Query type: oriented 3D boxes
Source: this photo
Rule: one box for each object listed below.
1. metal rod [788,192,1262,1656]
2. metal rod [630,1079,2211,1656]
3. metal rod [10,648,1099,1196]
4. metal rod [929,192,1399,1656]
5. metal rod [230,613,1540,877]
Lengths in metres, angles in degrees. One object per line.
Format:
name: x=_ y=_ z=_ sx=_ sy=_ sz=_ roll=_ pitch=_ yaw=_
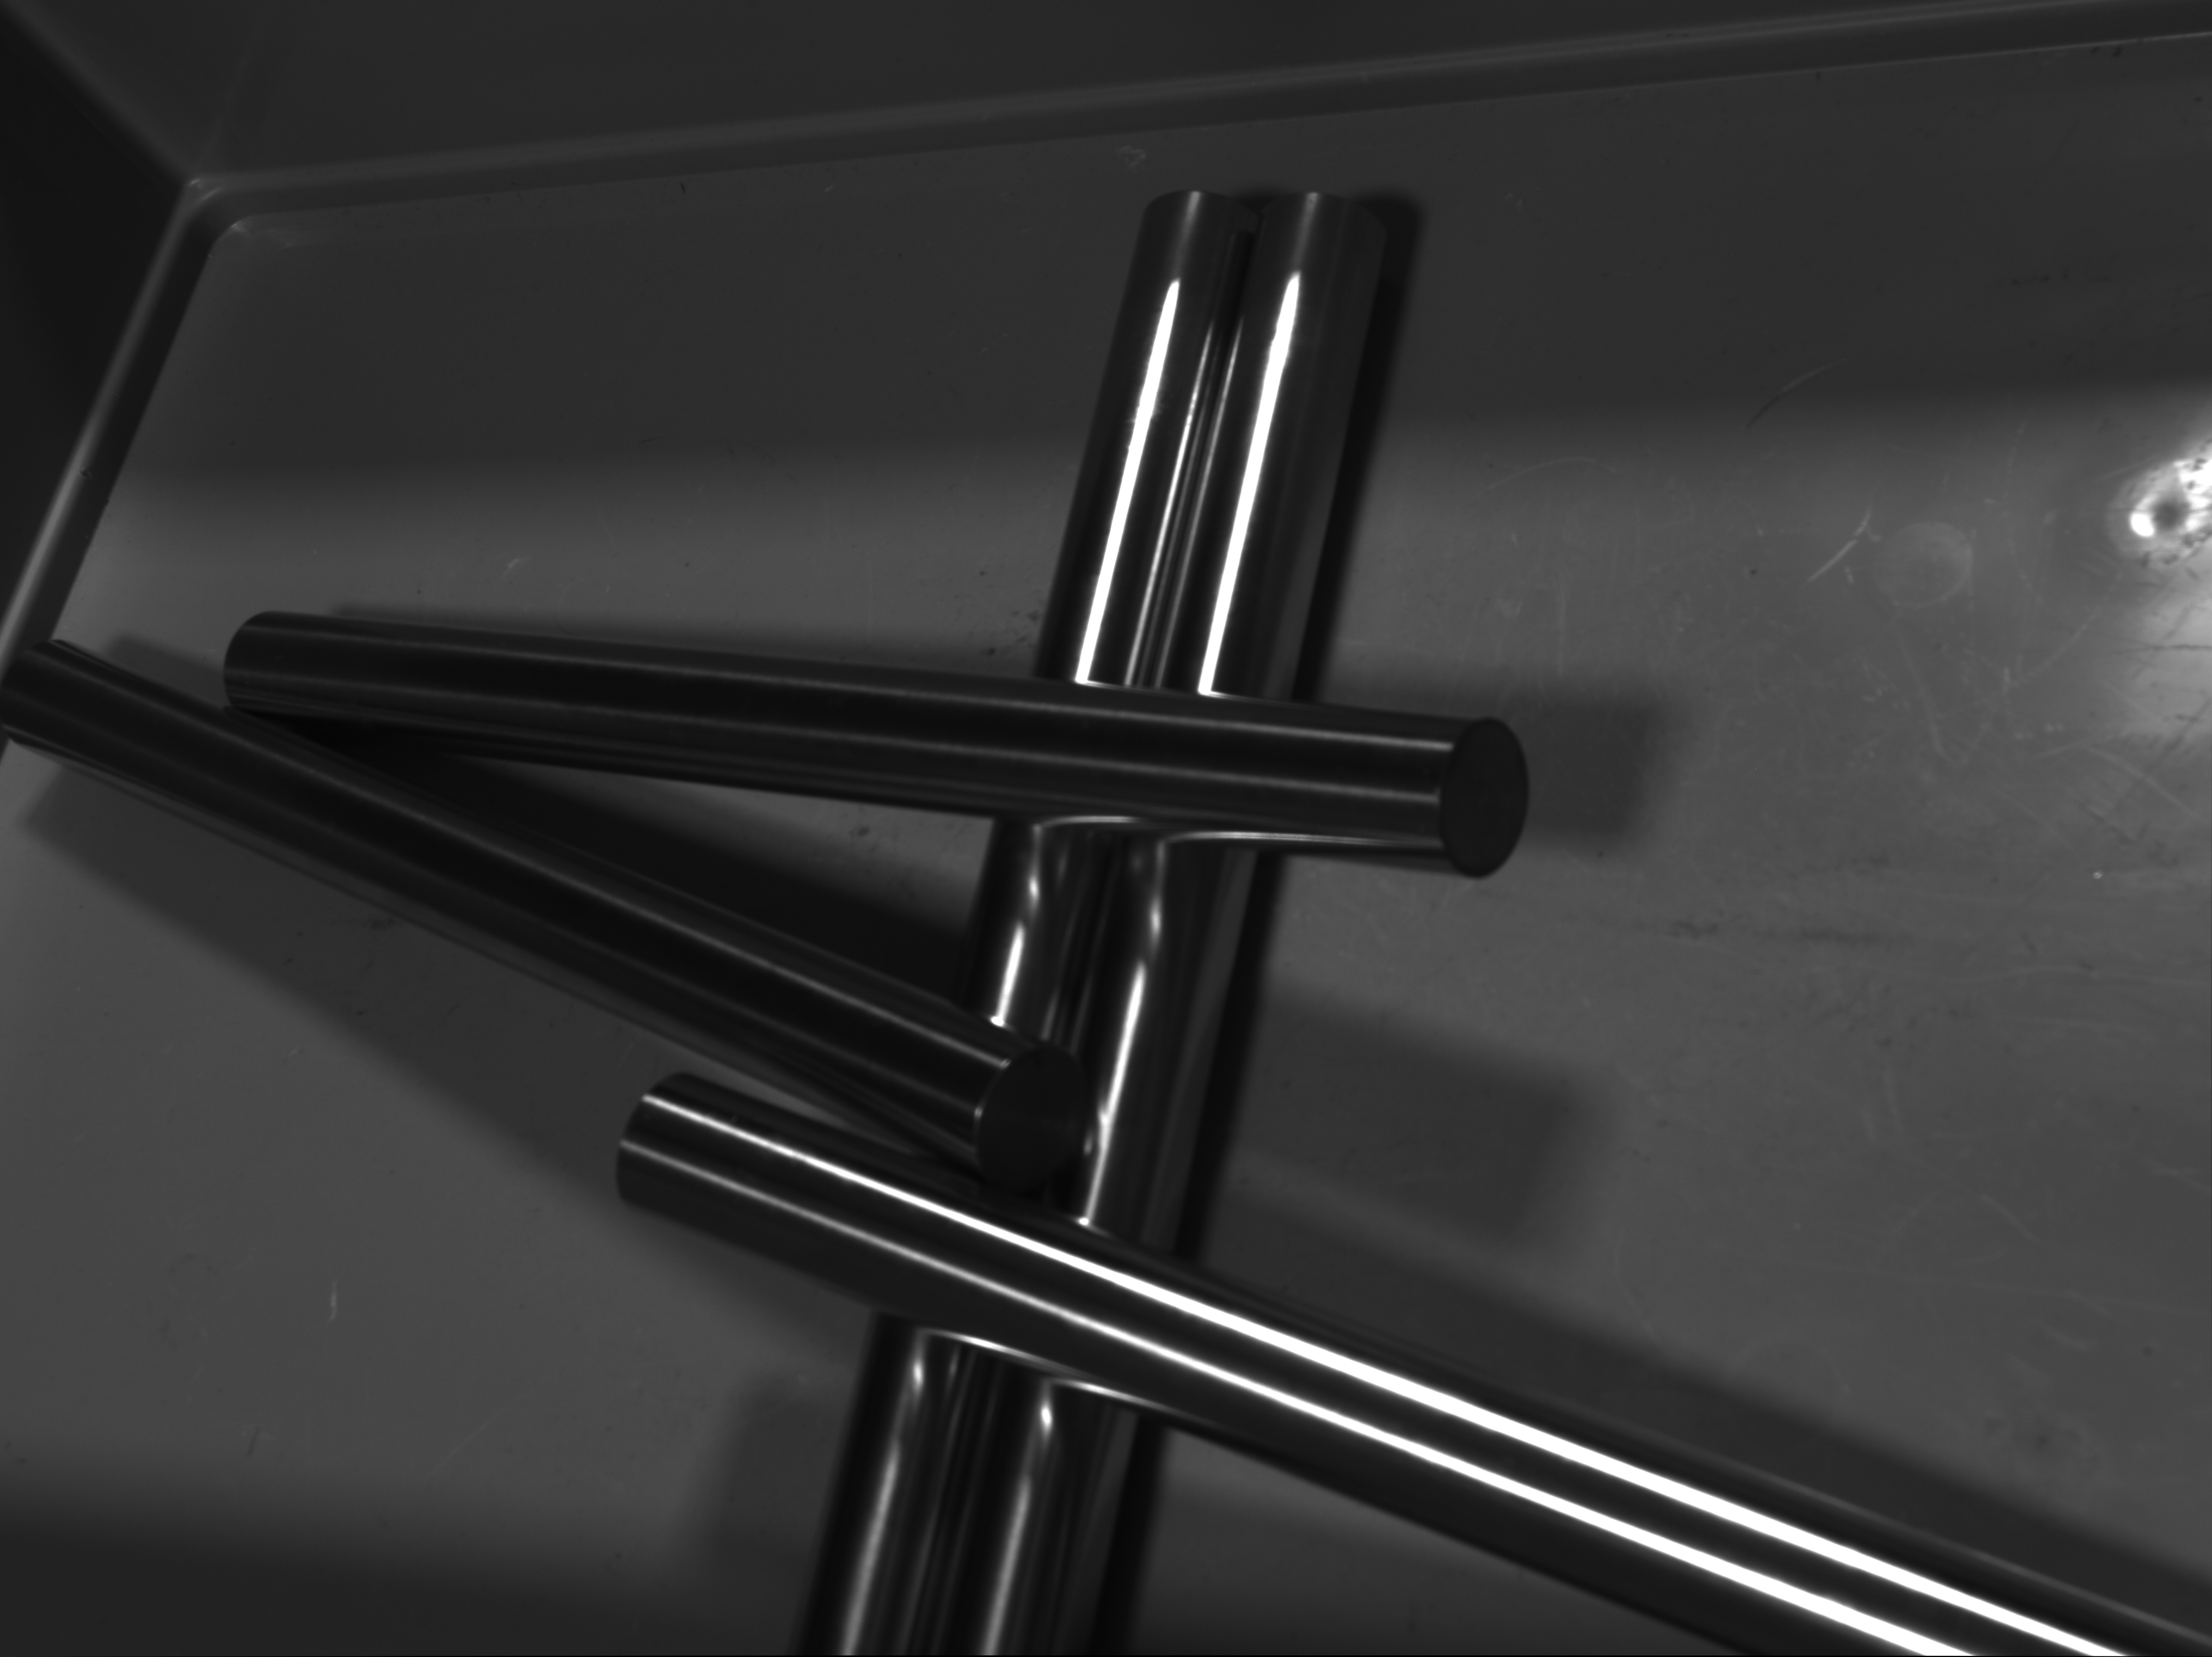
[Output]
metal rod: x=-0.011 y=0.018 z=0.636 sx=0.025 sy=0.025 sz=0.300 roll=-1 pitch=61 yaw=28
metal rod: x=0.055 y=0.091 z=0.535 sx=0.299 sy=0.025 sz=0.025 roll=17 pitch=70 yaw=29
metal rod: x=-0.116 y=0.010 z=0.683 sx=0.299 sy=0.025 sz=0.025 roll=19 pitch=72 yaw=41
metal rod: x=0.011 y=0.020 z=0.622 sx=0.025 sy=0.025 sz=0.300 roll=-1 pitch=61 yaw=28
metal rod: x=-0.055 y=-0.019 z=0.659 sx=0.299 sy=0.025 sz=0.025 roll=7 pitch=65 yaw=39
